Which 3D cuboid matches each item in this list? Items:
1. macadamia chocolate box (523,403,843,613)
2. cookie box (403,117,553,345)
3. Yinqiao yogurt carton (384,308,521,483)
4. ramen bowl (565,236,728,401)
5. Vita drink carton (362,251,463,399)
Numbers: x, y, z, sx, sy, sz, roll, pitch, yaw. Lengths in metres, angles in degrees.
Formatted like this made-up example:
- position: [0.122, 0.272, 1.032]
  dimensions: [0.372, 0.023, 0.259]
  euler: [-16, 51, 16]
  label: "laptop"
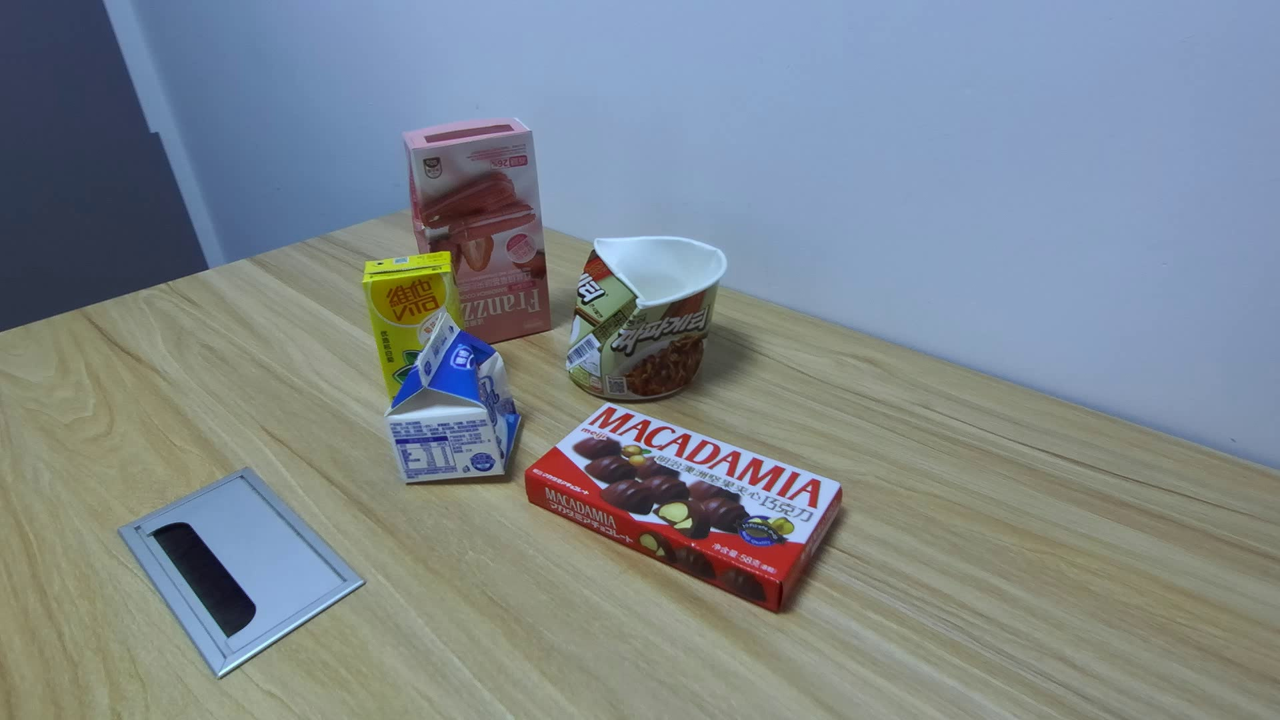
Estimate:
- position: [0.025, 0.083, 0.443]
  dimensions: [0.177, 0.027, 0.096]
  euler: [17, 35, 29]
  label: "macadamia chocolate box"
- position: [-0.139, -0.105, 0.607]
  dimensions: [0.105, 0.188, 0.048]
  euler: [-14, 35, -19]
  label: "cookie box"
- position: [-0.129, 0.024, 0.486]
  dimensions: [0.071, 0.094, 0.077]
  euler: [-5, 31, 5]
  label: "Yinqiao yogurt carton"
- position: [0.004, -0.034, 0.567]
  dimensions: [0.137, 0.098, 0.137]
  euler: [0, 35, 1]
  label: "ramen bowl"
- position: [-0.172, -0.024, 0.552]
  dimensions: [0.067, 0.109, 0.043]
  euler: [-9, 30, -12]
  label: "Vita drink carton"
